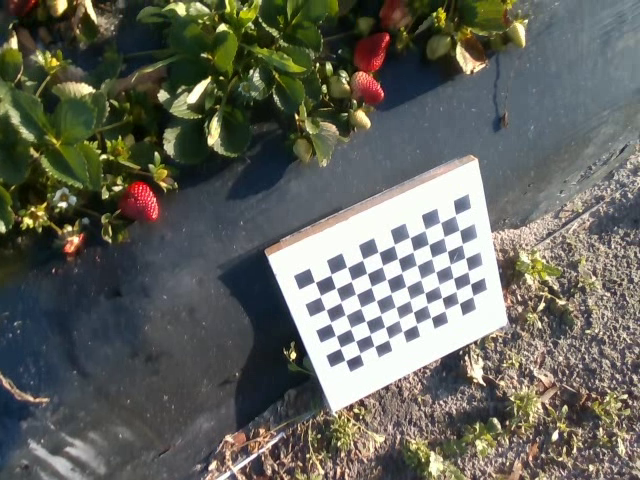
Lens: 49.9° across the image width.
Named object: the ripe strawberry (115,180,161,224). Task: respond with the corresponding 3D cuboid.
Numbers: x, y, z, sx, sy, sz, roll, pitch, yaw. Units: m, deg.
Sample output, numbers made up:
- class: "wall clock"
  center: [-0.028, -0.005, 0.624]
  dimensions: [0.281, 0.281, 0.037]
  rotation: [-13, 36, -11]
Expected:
- class: "ripe strawberry"
  center: [-0.203, -0.038, 0.777]
  dimensions: [0.051, 0.052, 0.041]
  rotation: [41, 6, 27]
